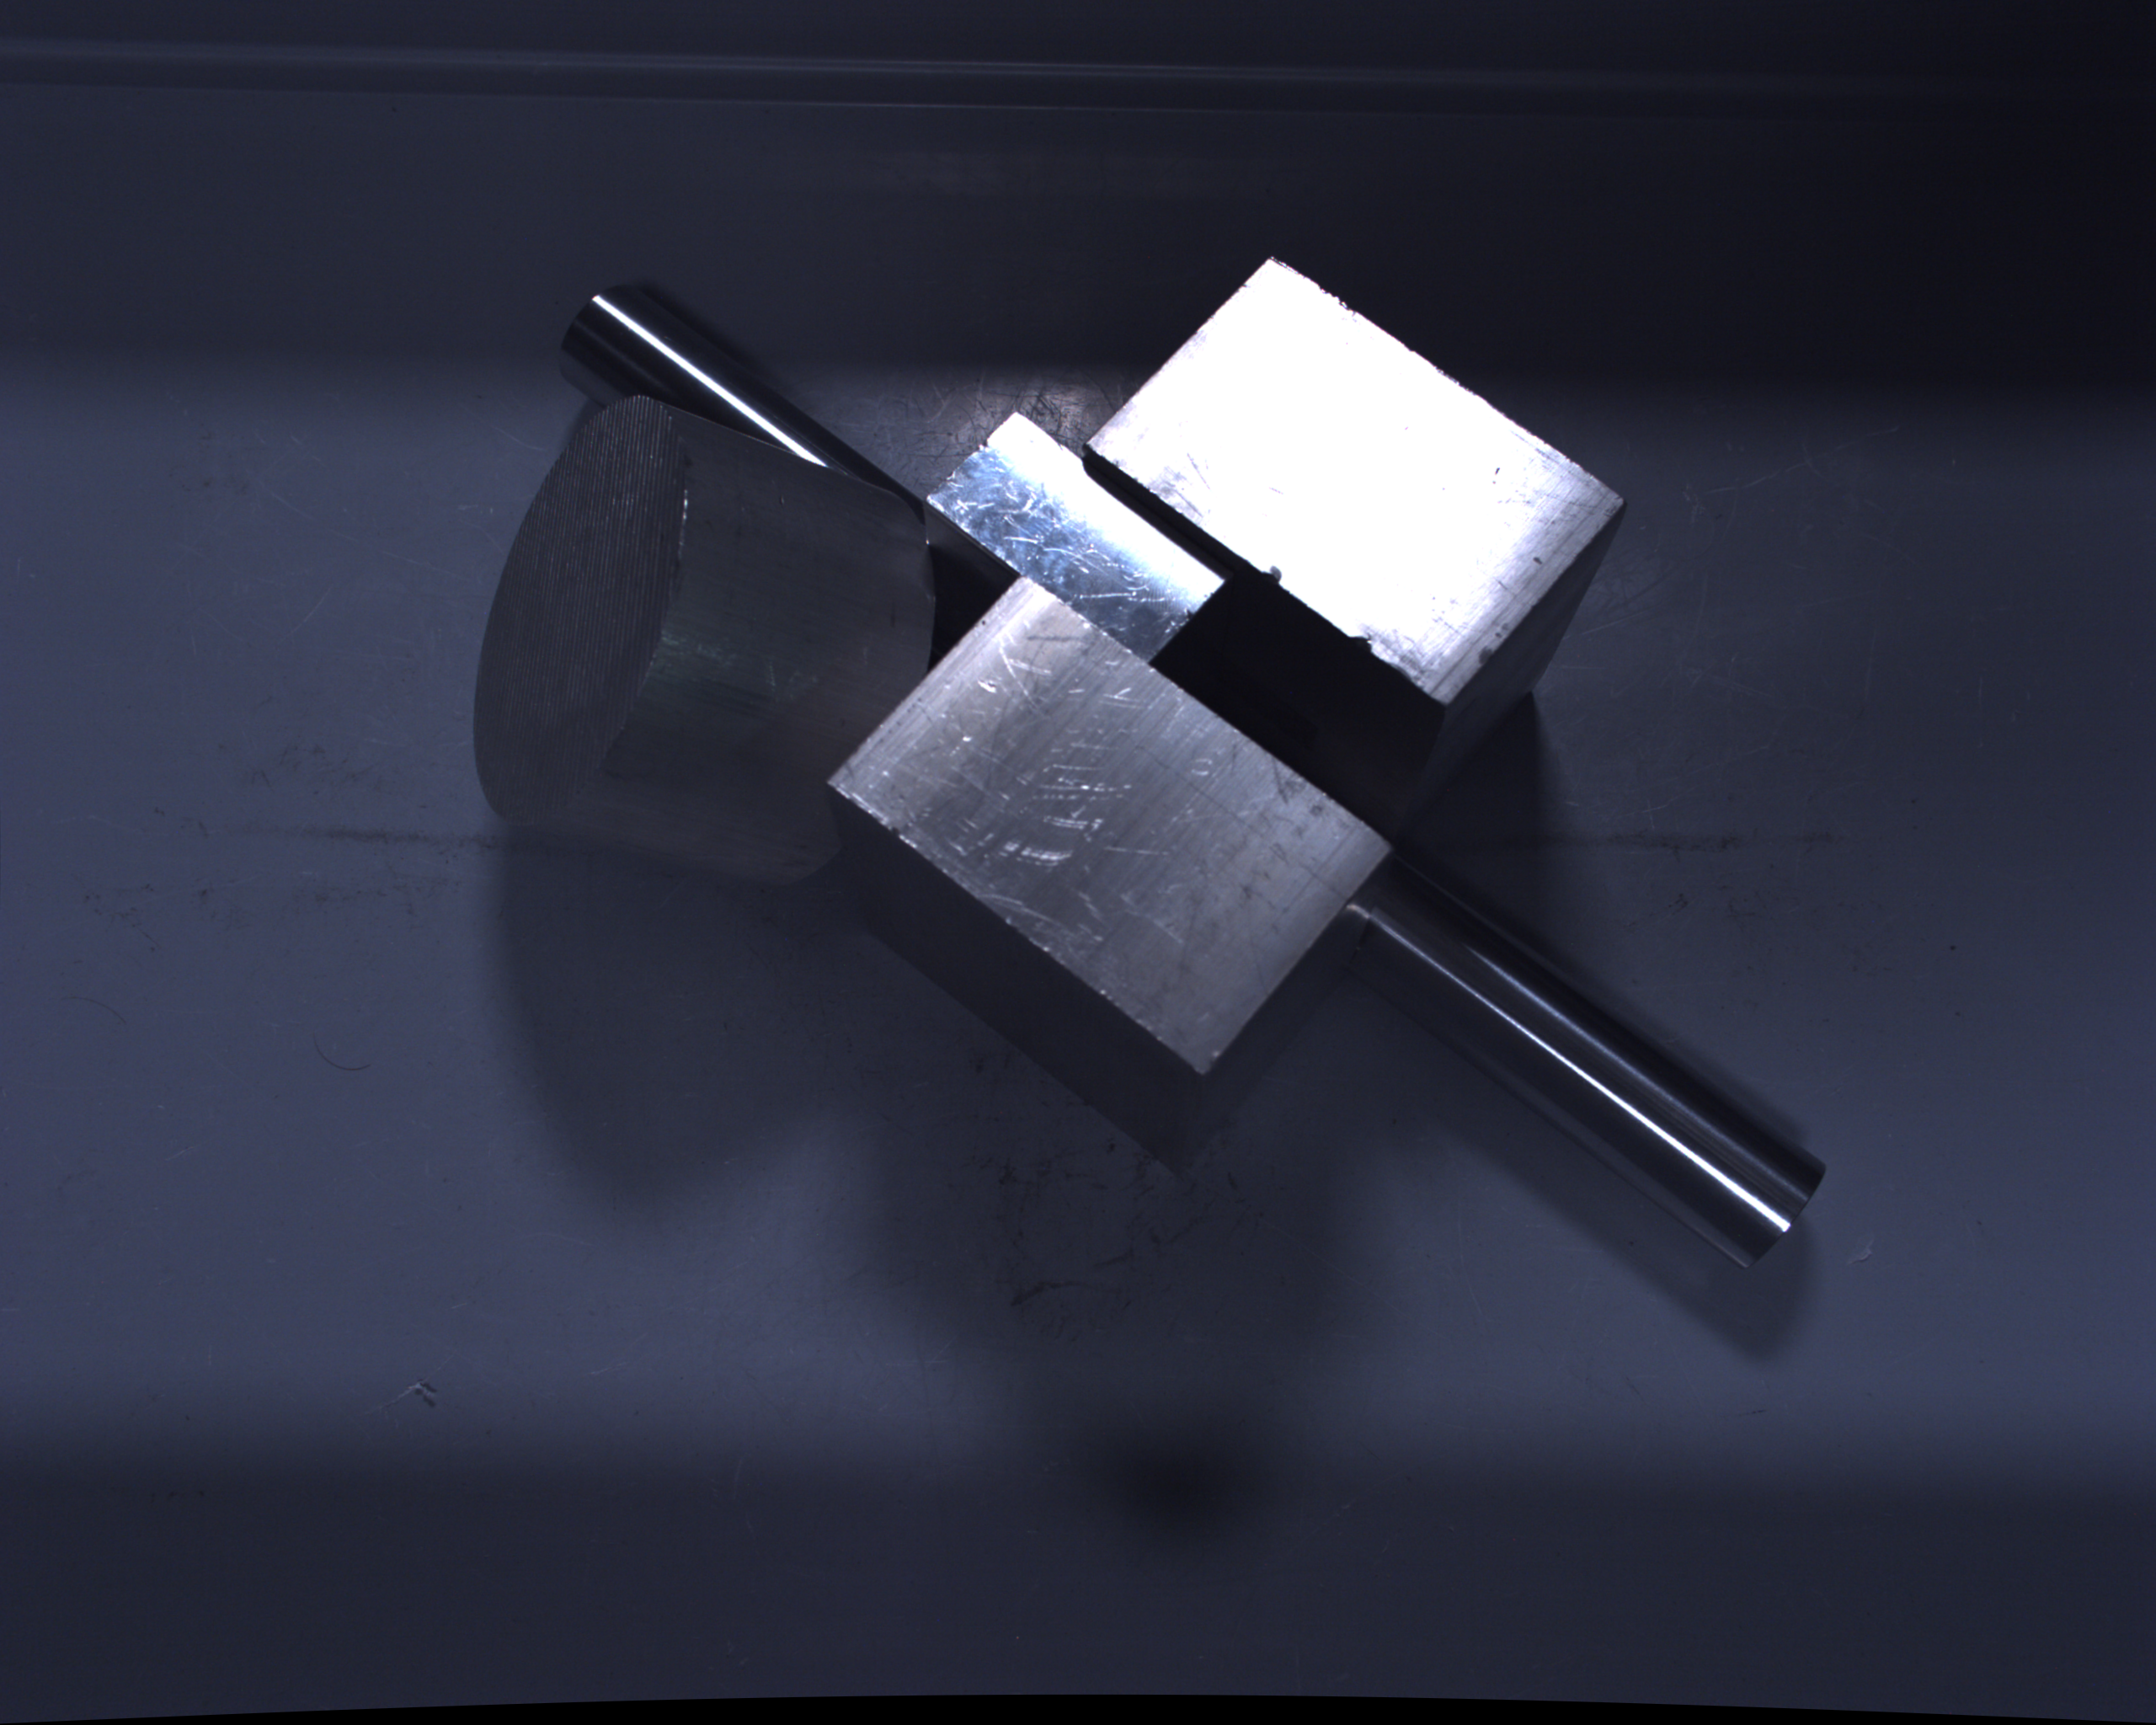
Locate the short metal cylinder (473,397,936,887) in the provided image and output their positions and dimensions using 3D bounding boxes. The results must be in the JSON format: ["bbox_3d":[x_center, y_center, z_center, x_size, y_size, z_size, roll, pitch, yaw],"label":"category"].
[{"bbox_3d":[-0.070,-0.039,0.386,0.050,0.080,0.080,17,65,-37],"label":"short metal cylinder"}]

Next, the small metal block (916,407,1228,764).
[{"bbox_3d":[-0.001,-0.049,0.388,0.050,0.050,0.025,39,75,12],"label":"small metal block"}]

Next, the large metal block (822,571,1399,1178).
[{"bbox_3d":[0.005,0.005,0.378,0.080,0.080,0.050,37,74,12],"label":"large metal block"}]

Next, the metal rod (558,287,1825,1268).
[{"bbox_3d":[0.014,-0.024,0.418,0.300,0.025,0.025,37,74,12],"label":"metal rod"}]

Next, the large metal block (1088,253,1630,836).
[{"bbox_3d":[0.049,-0.055,0.401,0.080,0.080,0.050,38,74,12],"label":"large metal block"}]
